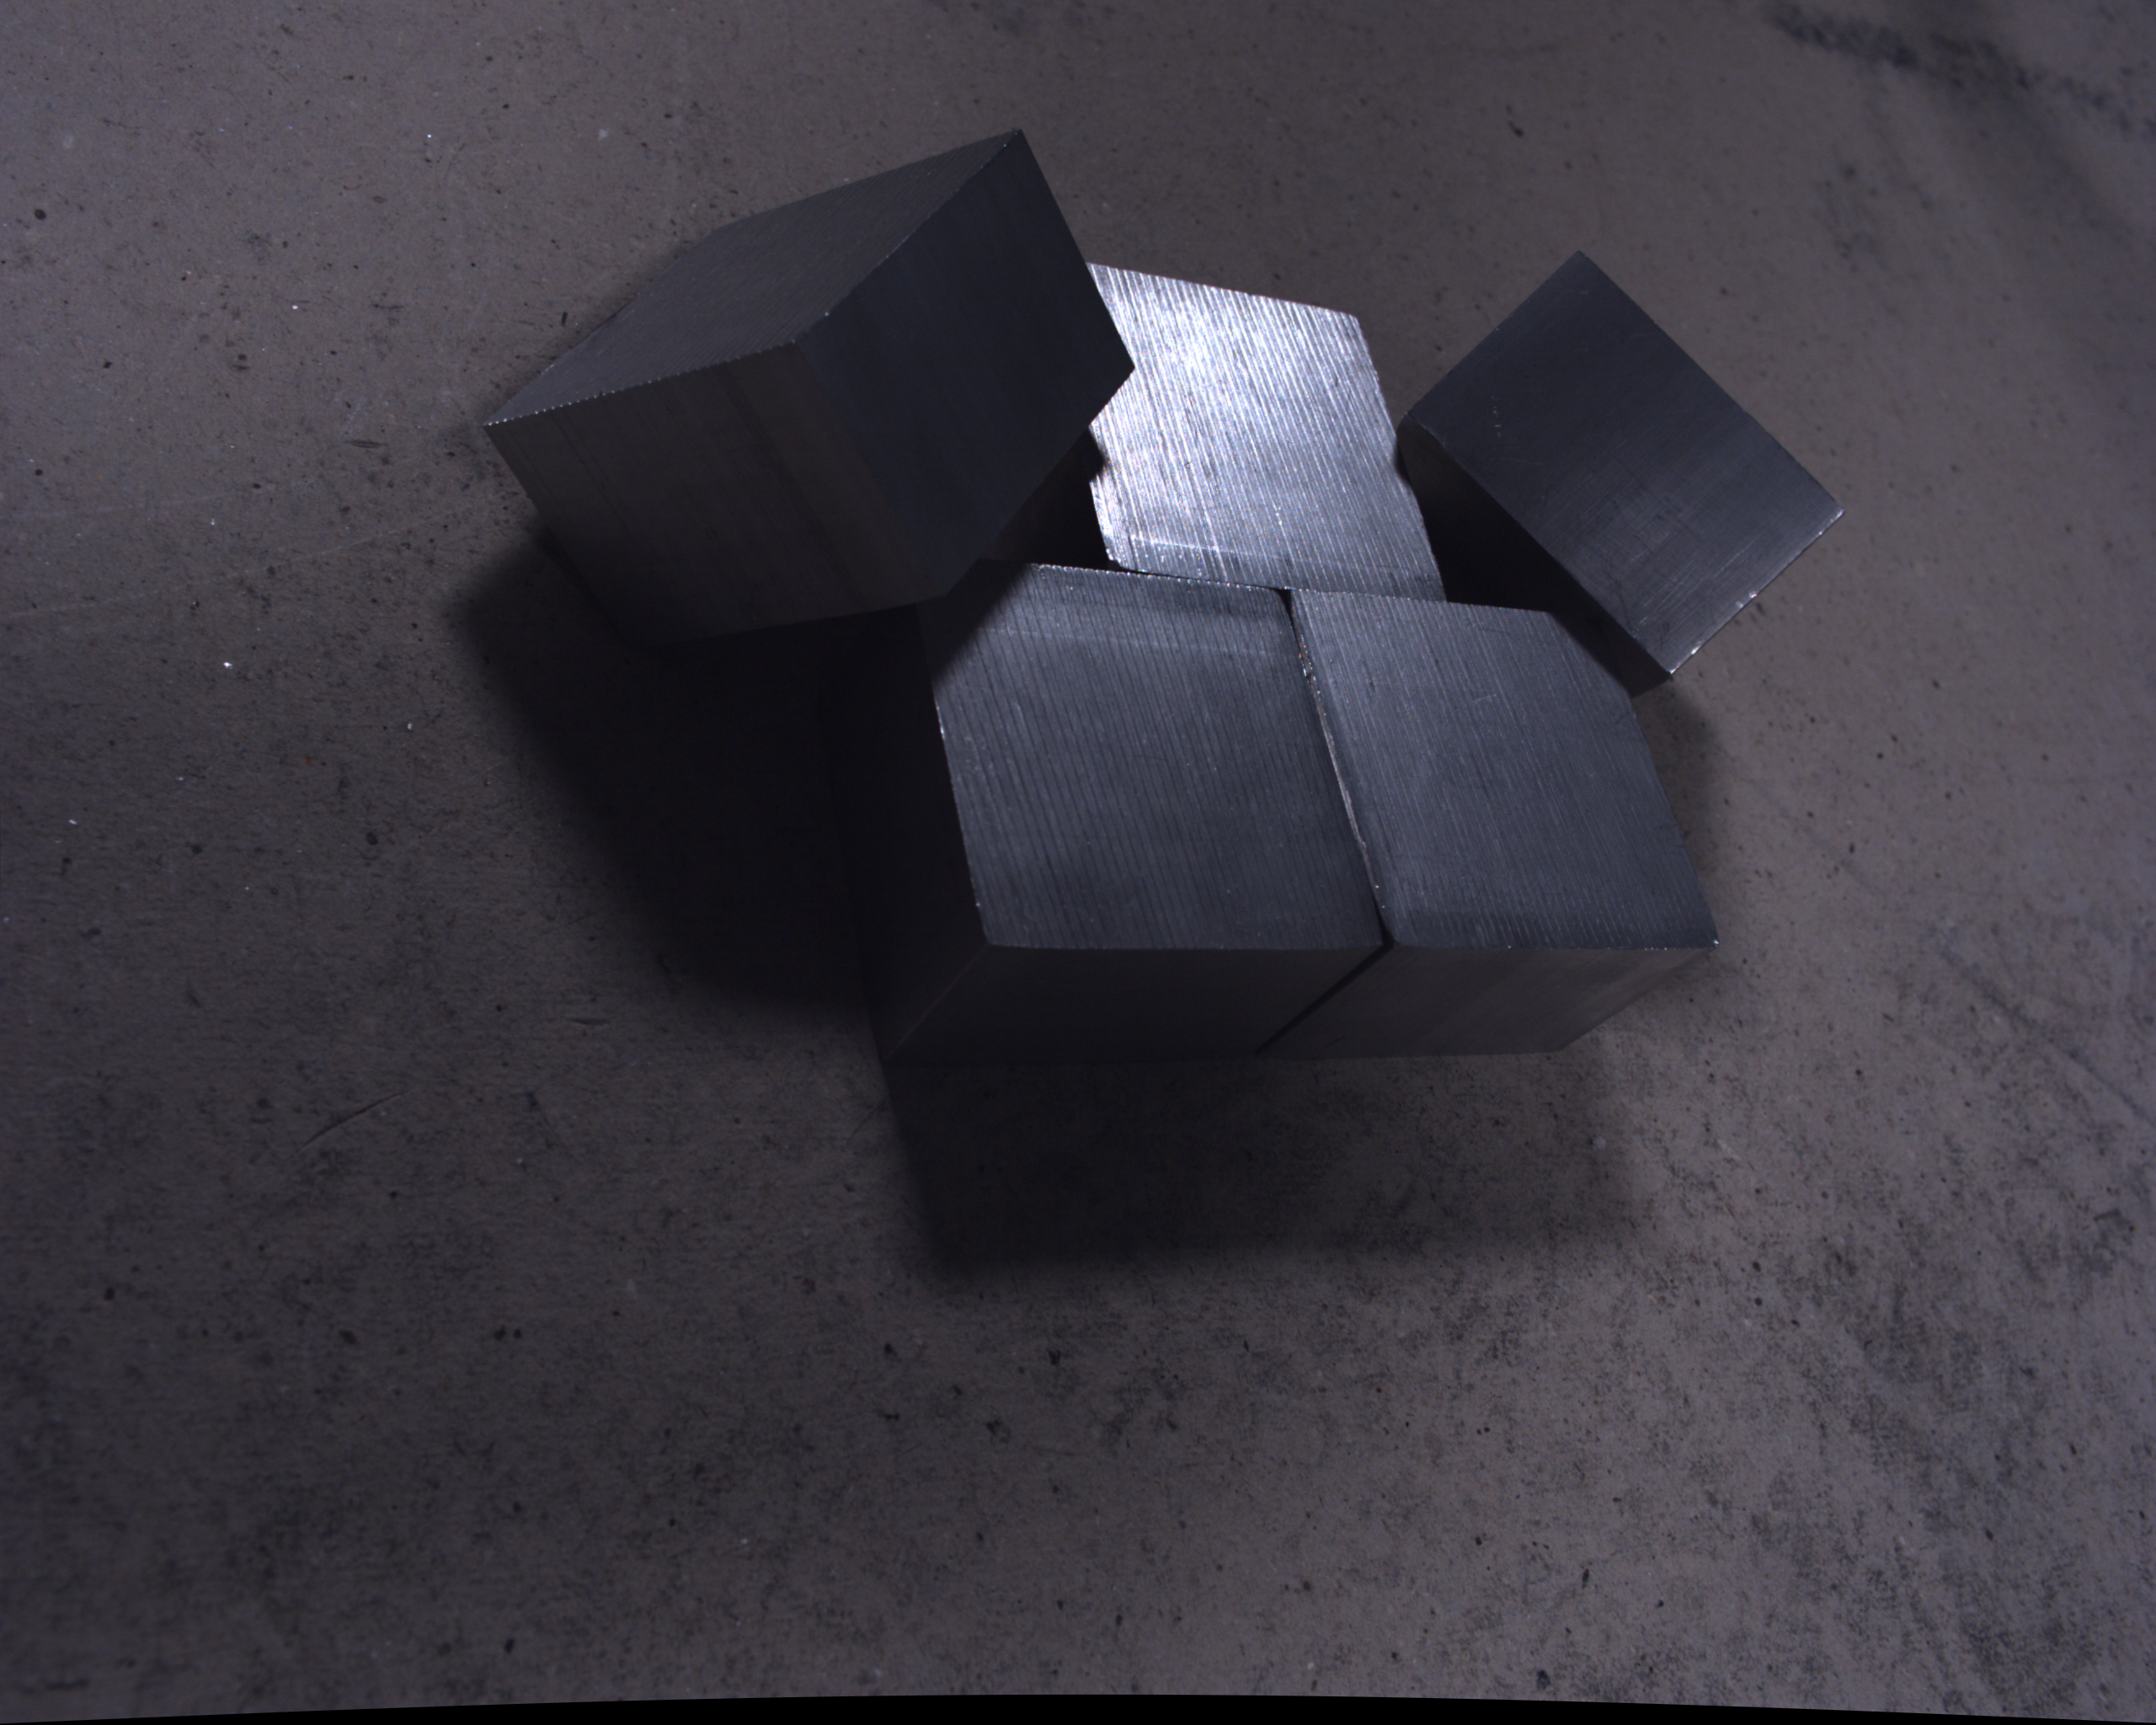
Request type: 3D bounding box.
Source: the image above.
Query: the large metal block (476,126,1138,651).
[{"bbox_3d":[-0.048,-0.087,0.389,0.080,0.080,0.050,-56,130,-39],"label":"large metal block"}]

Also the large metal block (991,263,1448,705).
[{"bbox_3d":[0.023,-0.079,0.452,0.081,0.050,0.080,3,61,-27],"label":"large metal block"}]

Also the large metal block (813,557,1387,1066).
[{"bbox_3d":[0.002,-0.009,0.396,0.081,0.050,0.080,1,61,-28],"label":"large metal block"}]

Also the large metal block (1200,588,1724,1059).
[{"bbox_3d":[0.075,-0.007,0.433,0.081,0.050,0.080,1,61,-28],"label":"large metal block"}]

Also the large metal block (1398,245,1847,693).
[{"bbox_3d":[0.118,-0.084,0.479,0.050,0.080,0.080,-44,86,1],"label":"large metal block"}]
